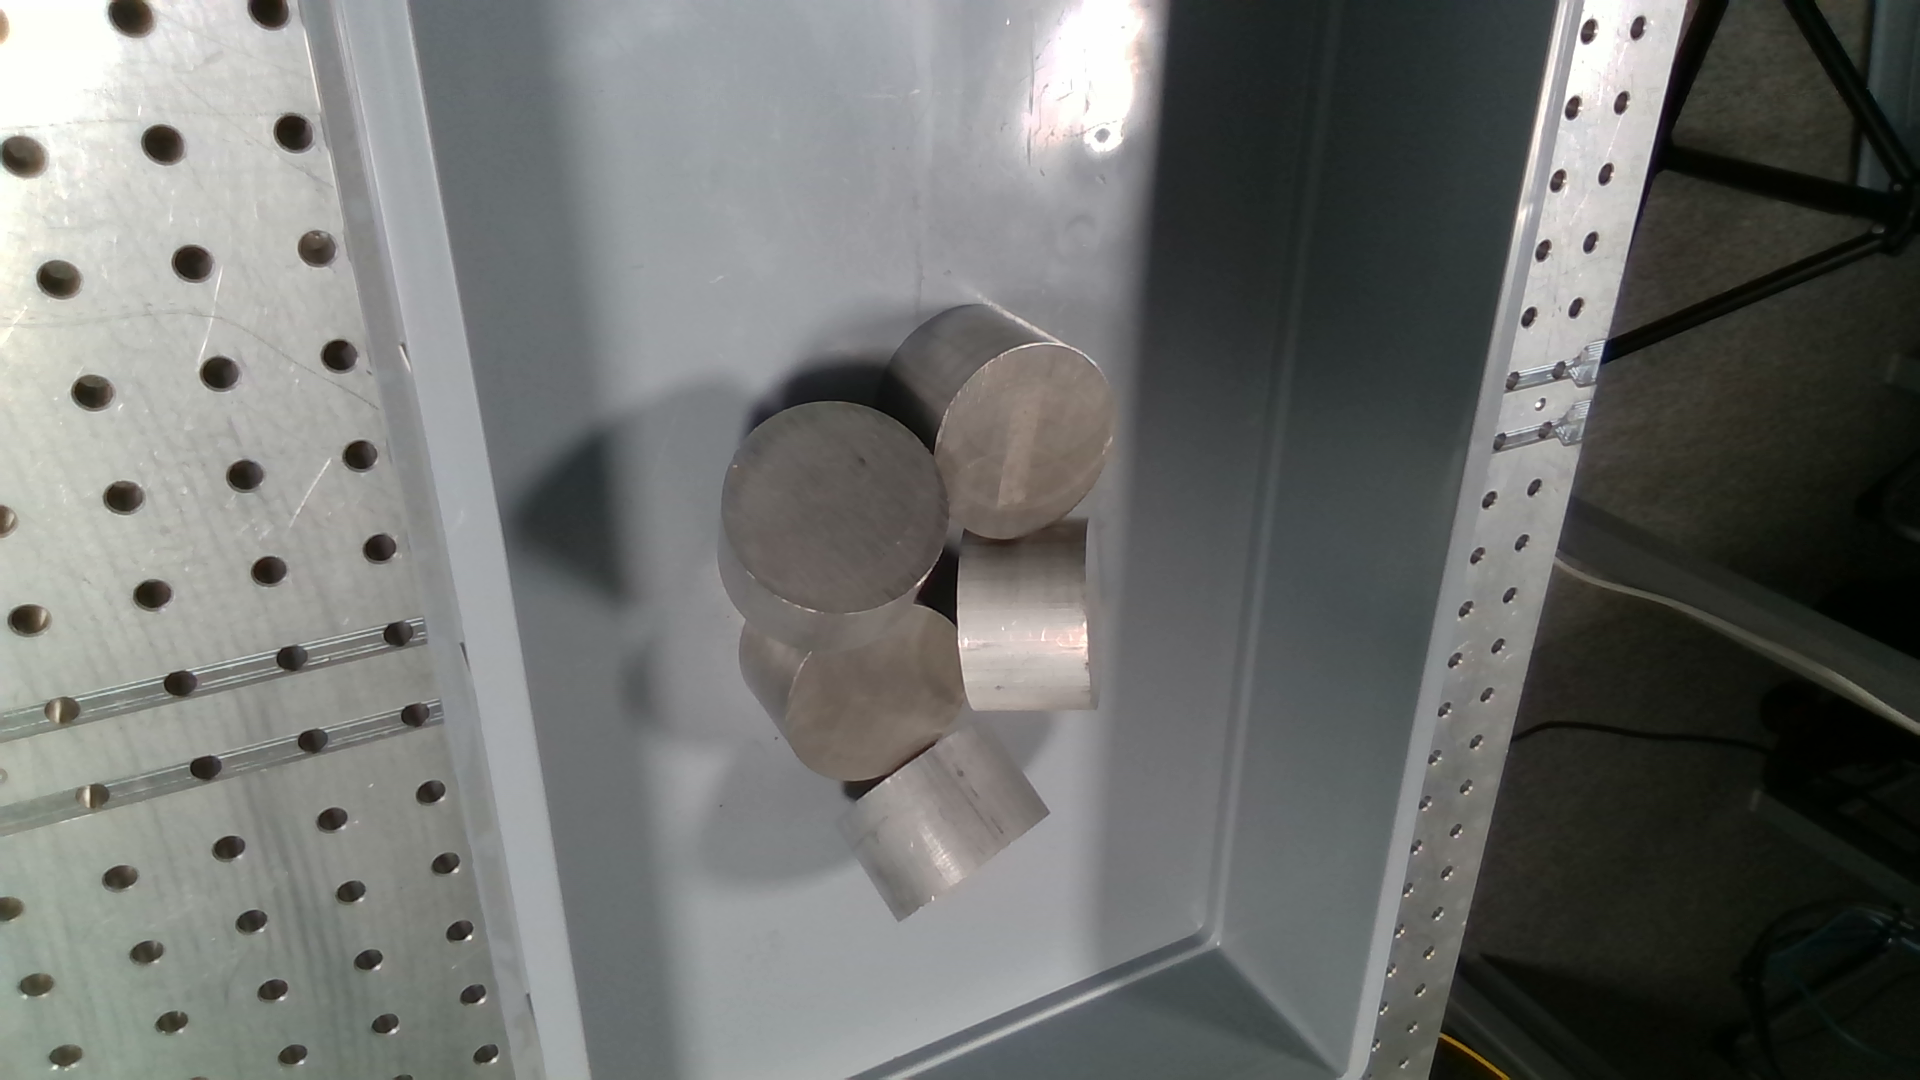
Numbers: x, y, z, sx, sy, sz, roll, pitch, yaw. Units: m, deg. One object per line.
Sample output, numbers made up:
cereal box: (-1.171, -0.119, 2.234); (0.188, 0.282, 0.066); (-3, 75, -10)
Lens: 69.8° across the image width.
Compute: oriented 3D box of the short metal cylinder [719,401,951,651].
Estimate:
short metal cylinder: (-0.047, -0.004, 0.504); (0.080, 0.080, 0.050); (-25, 167, -19)

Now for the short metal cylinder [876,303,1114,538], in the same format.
short metal cylinder: (0.014, -0.048, 0.544); (0.080, 0.050, 0.080); (-14, 122, -25)

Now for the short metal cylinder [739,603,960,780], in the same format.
short metal cylinder: (-0.044, 0.050, 0.563); (0.080, 0.050, 0.080); (-14, 122, -25)

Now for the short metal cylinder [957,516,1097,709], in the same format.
short metal cylinder: (0.030, 0.030, 0.569); (0.050, 0.080, 0.080); (-2, 122, 10)

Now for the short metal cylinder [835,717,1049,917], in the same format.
short metal cylinder: (-0.008, 0.120, 0.597); (0.080, 0.050, 0.080); (-34, 170, -7)
